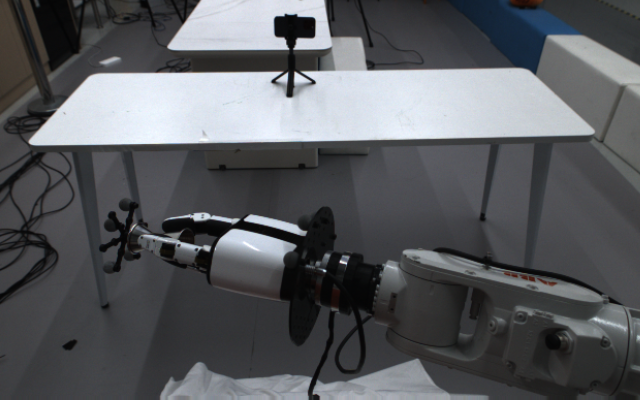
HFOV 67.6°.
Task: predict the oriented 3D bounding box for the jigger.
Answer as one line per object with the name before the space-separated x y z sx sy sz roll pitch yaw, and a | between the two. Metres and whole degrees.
jigger | -0.190 0.050 0.597 0.071 0.043 0.043 7 35 14
